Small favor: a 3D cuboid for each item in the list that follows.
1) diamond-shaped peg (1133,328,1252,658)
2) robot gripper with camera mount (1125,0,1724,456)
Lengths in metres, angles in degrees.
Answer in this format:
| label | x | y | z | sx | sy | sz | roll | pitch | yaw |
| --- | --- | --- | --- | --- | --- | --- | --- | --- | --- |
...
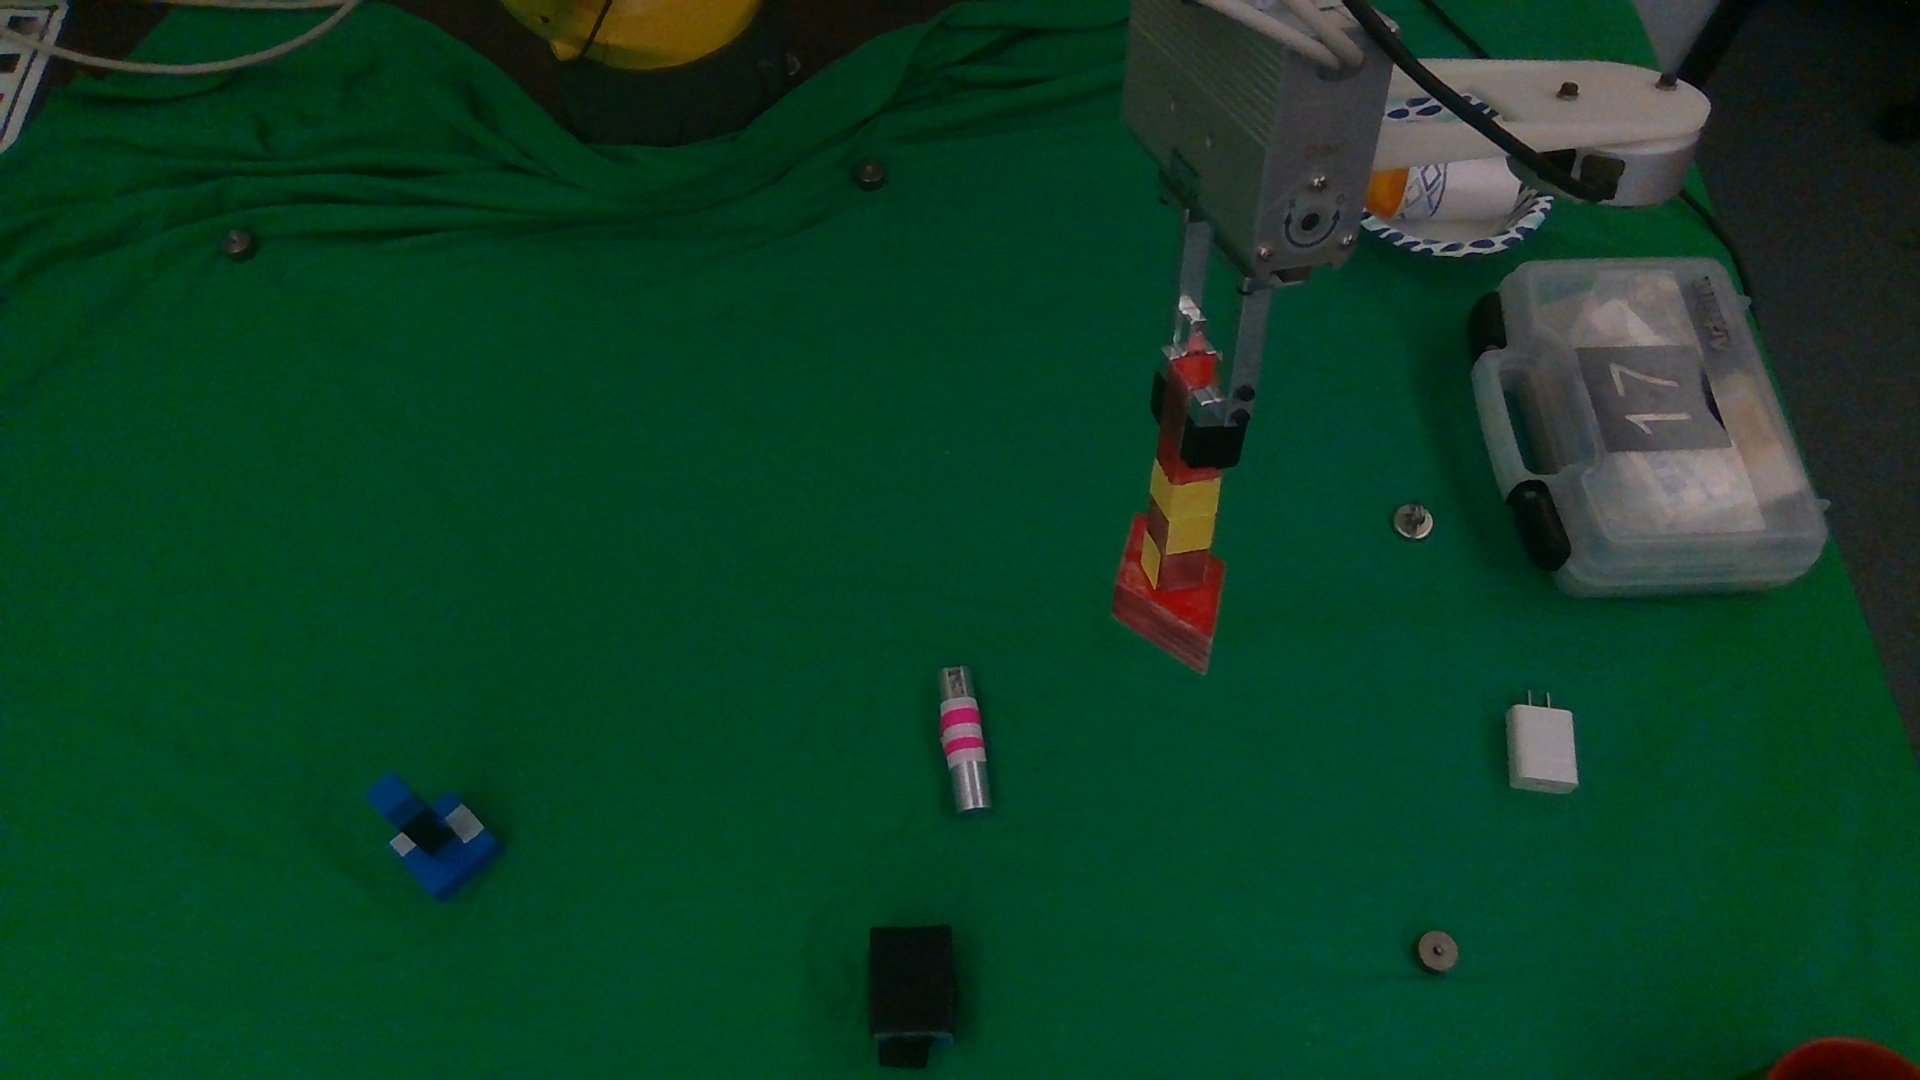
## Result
| label | x | y | z | sx | sy | sz | roll | pitch | yaw |
| --- | --- | --- | --- | --- | --- | --- | --- | --- | --- |
| diamond-shaped peg | 0.093 | -0.024 | 0.538 | 0.045 | 0.122 | 0.074 | -31 | 47 | -29 |
| robot gripper with camera mount | 0.166 | -0.122 | 0.491 | 0.193 | 0.158 | 0.119 | -11 | 40 | -16 |
